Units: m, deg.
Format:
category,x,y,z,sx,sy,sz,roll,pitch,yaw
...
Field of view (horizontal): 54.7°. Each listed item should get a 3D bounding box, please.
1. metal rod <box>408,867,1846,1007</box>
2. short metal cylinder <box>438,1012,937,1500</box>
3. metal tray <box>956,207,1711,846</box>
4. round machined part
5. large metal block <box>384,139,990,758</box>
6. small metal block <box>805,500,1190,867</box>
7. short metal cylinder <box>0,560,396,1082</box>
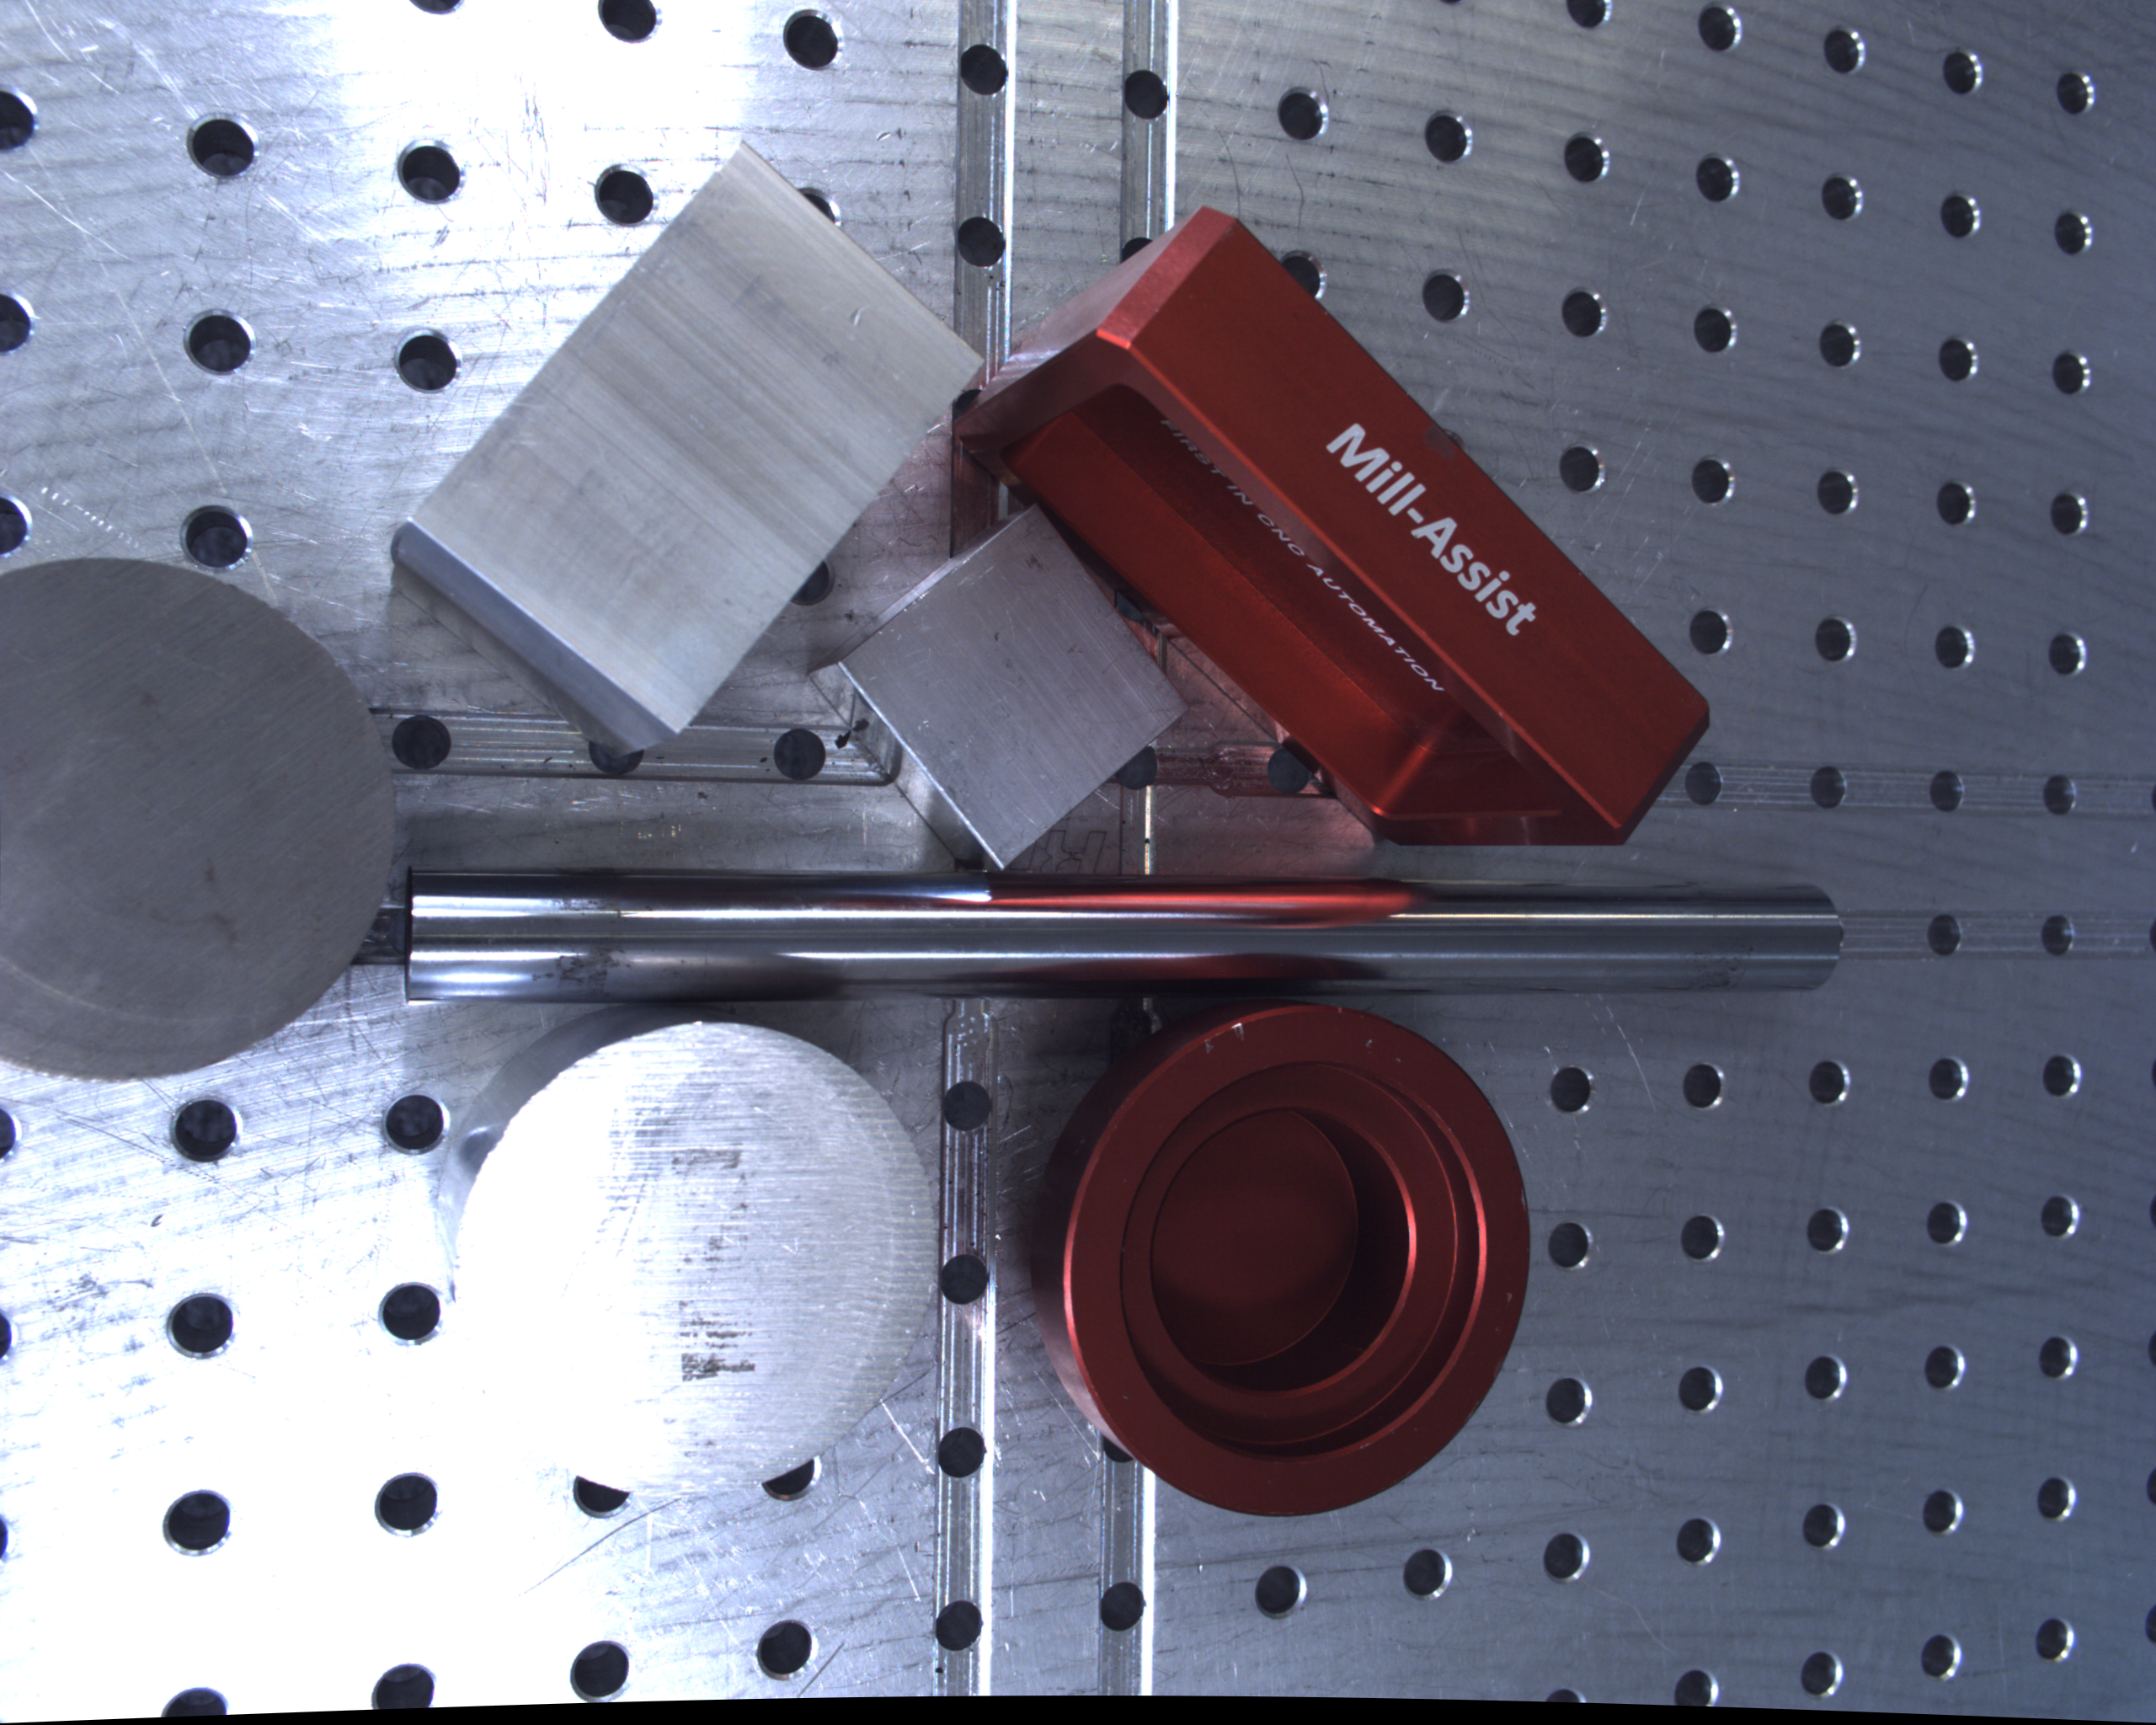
category,x,y,z,sx,sy,sz,roll,pitch,yaw
metal rod,0.024,0.015,0.421,0.302,0.025,0.025,1,90,-20
short metal cylinder,-0.071,0.066,0.373,0.081,0.050,0.080,0,90,-20
metal tray,0.045,-0.056,0.394,0.130,0.090,0.030,42,77,-15
round machined part,0.037,0.076,0.417,0.099,0.042,0.097,0,90,-20
large metal block,-0.070,-0.066,0.357,0.050,0.080,0.080,41,77,-16
small metal block,-0.016,-0.034,0.407,0.050,0.025,0.050,-41,103,-15
short metal cylinder,-0.155,-0.006,0.341,0.081,0.050,0.080,0,90,-20
